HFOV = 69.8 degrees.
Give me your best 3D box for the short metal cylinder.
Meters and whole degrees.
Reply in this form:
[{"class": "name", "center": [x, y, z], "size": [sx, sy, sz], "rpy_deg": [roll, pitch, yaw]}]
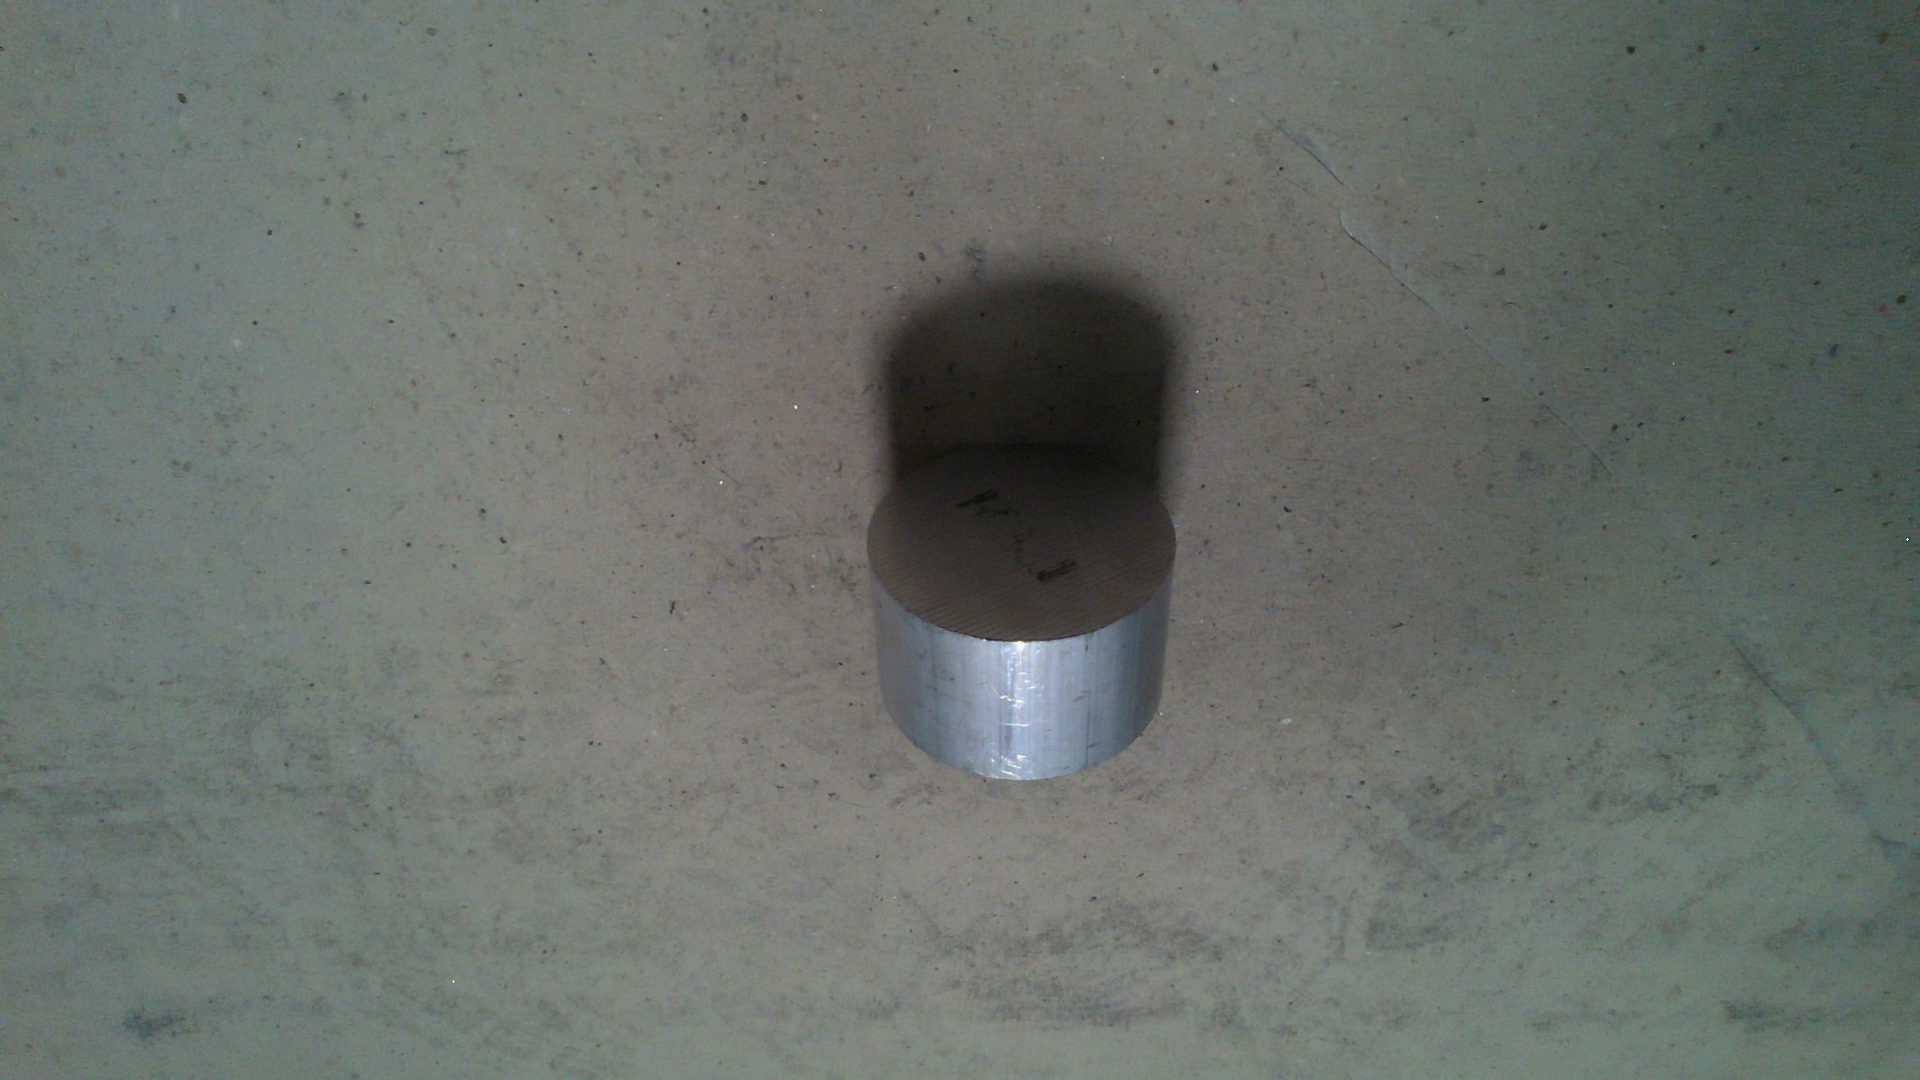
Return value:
[{"class": "short metal cylinder", "center": [0.017, 0.017, 0.370], "size": [0.080, 0.080, 0.050], "rpy_deg": [-1, 130, 1]}]
